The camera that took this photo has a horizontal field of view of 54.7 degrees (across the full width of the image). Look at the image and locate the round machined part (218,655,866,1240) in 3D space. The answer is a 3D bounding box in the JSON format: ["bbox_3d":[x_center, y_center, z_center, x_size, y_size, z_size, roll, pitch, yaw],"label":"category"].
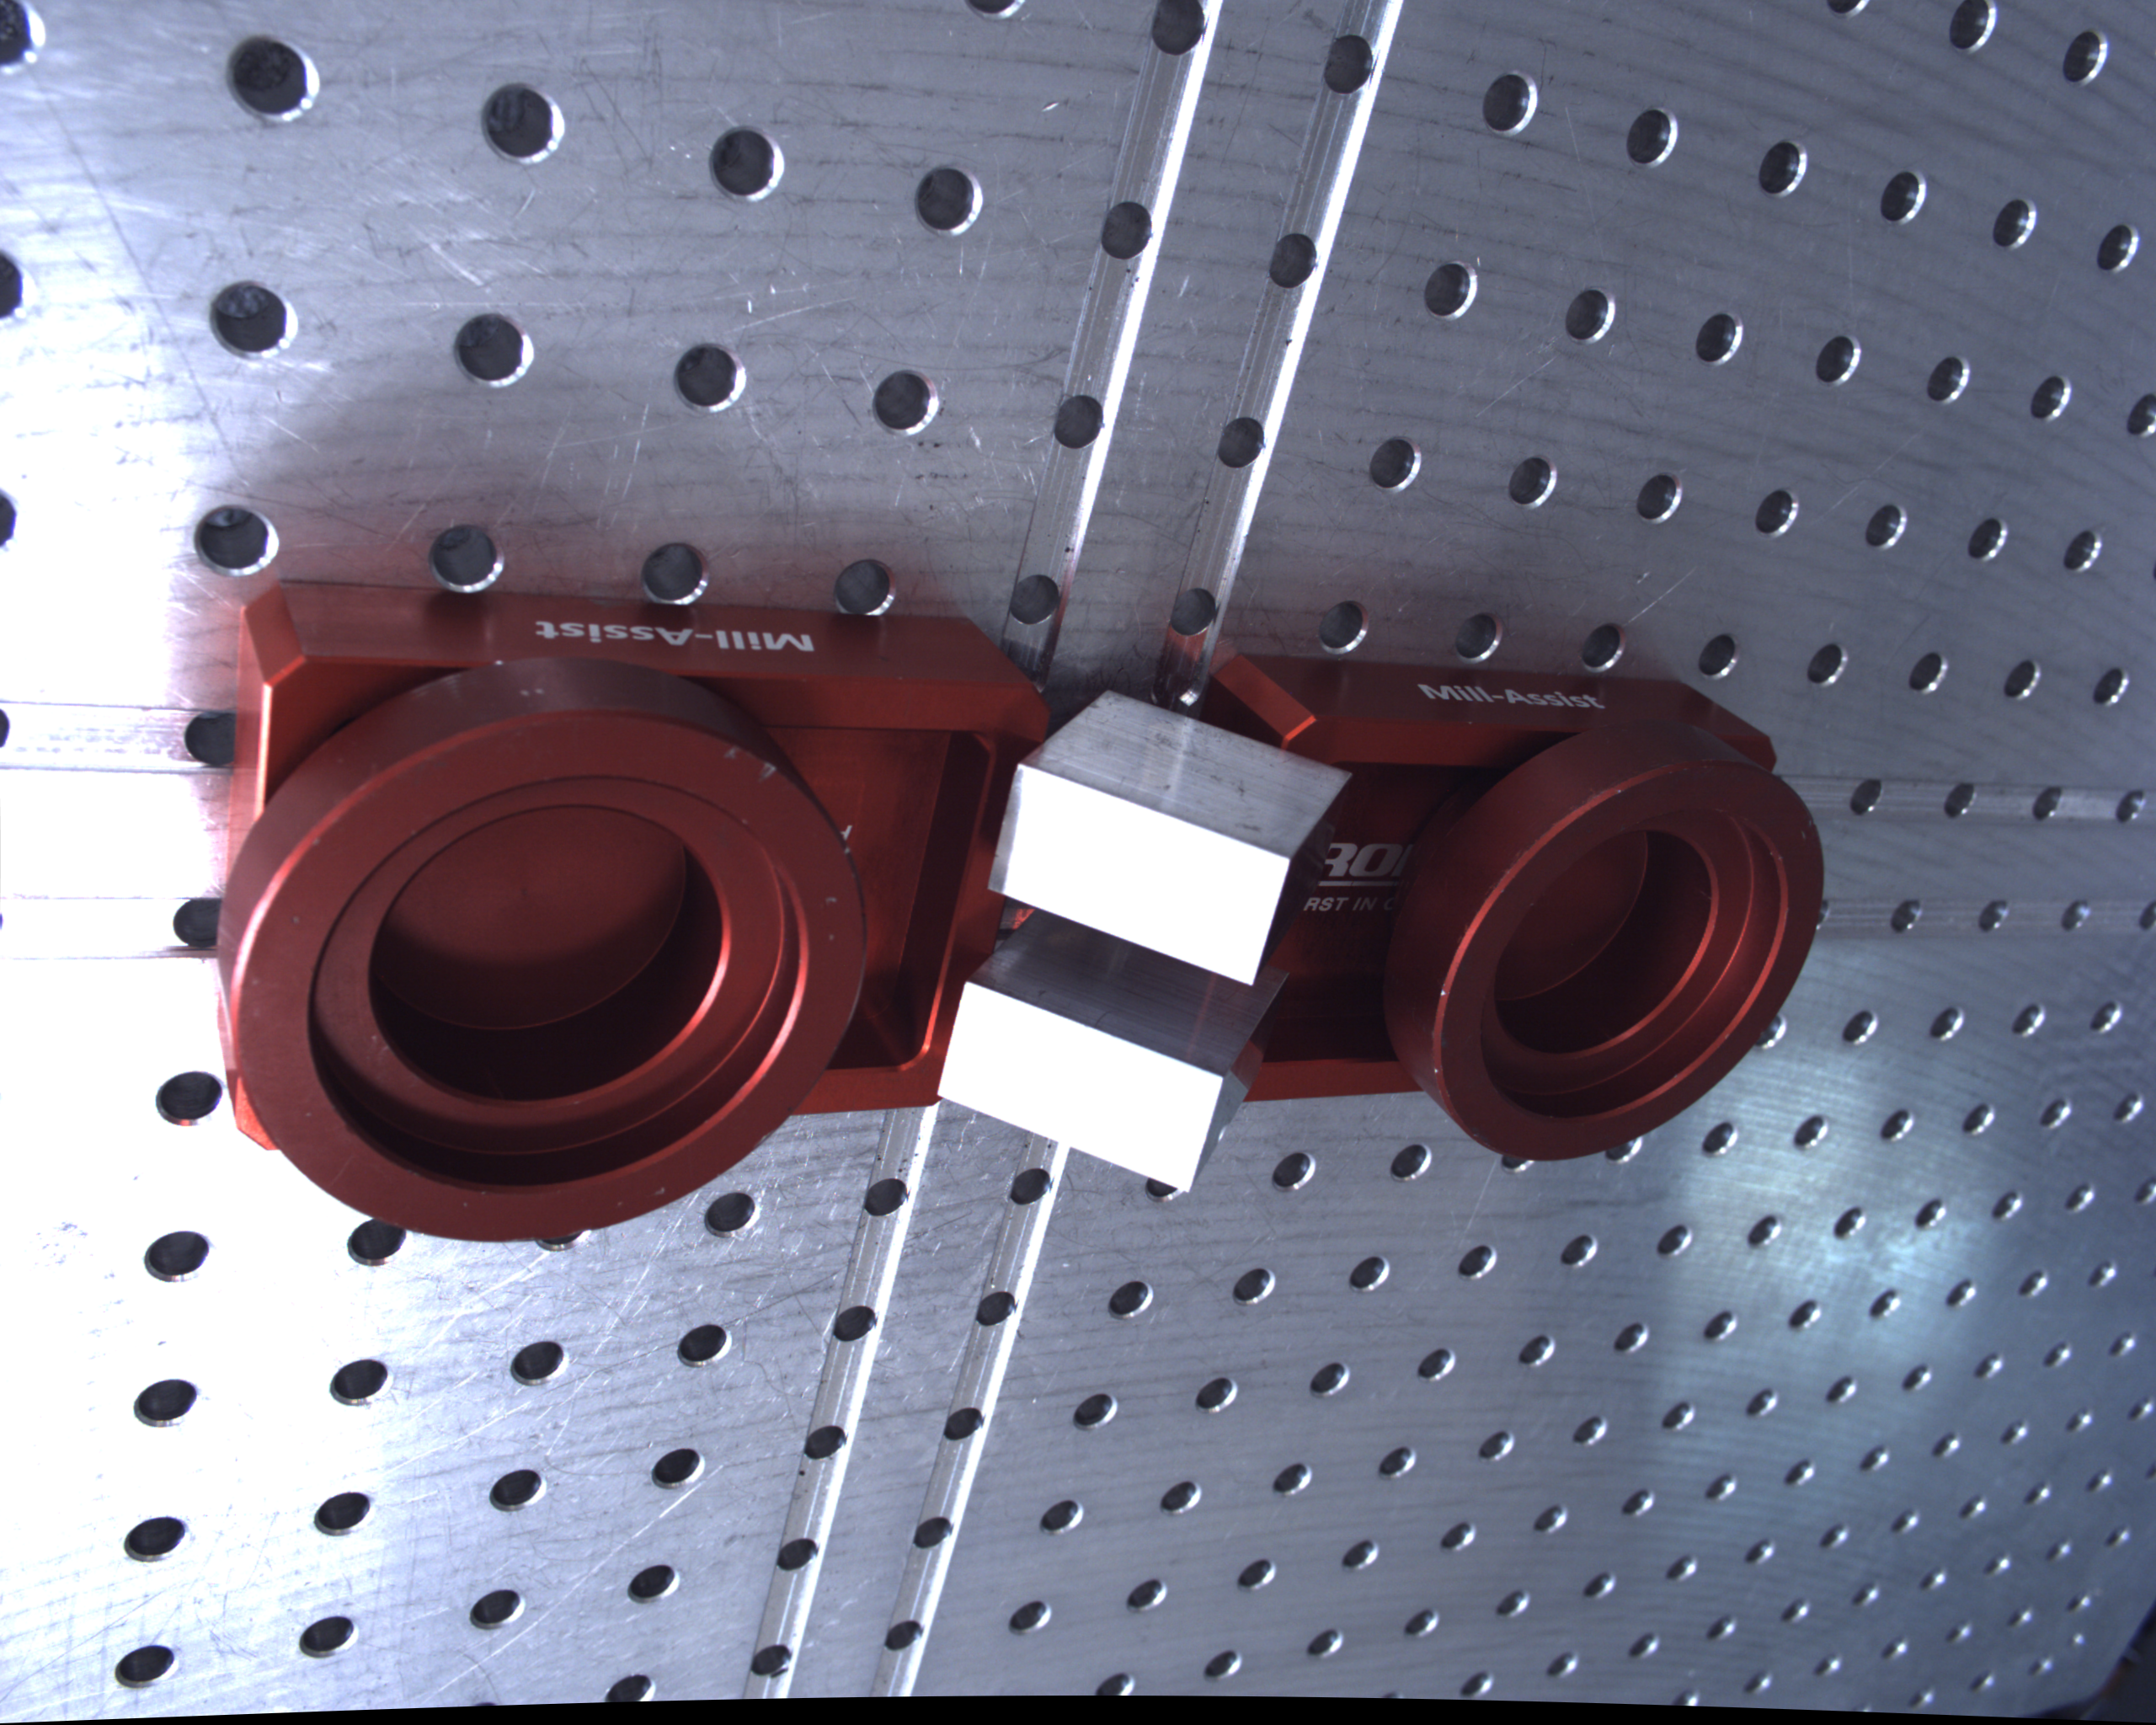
[{"bbox_3d":[-0.088,0.010,0.342,0.099,0.042,0.097,-14,124,-21],"label":"round machined part"}]

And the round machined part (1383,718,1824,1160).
[{"bbox_3d":[0.108,0.013,0.450,0.099,0.042,0.097,-14,124,-21],"label":"round machined part"}]

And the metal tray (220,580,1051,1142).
[{"bbox_3d":[-0.078,0.000,0.367,0.131,0.030,0.089,-1,121,-28],"label":"metal tray"}]

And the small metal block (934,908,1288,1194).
[{"bbox_3d":[0.007,0.032,0.400,0.050,0.050,0.025,20,115,11],"label":"small metal block"}]

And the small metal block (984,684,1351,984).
[{"bbox_3d":[0.017,-0.007,0.382,0.050,0.050,0.025,20,115,11],"label":"small metal block"}]

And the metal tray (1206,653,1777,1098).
[{"bbox_3d":[0.081,0.004,0.455,0.131,0.030,0.089,0,118,-29],"label":"metal tray"}]
